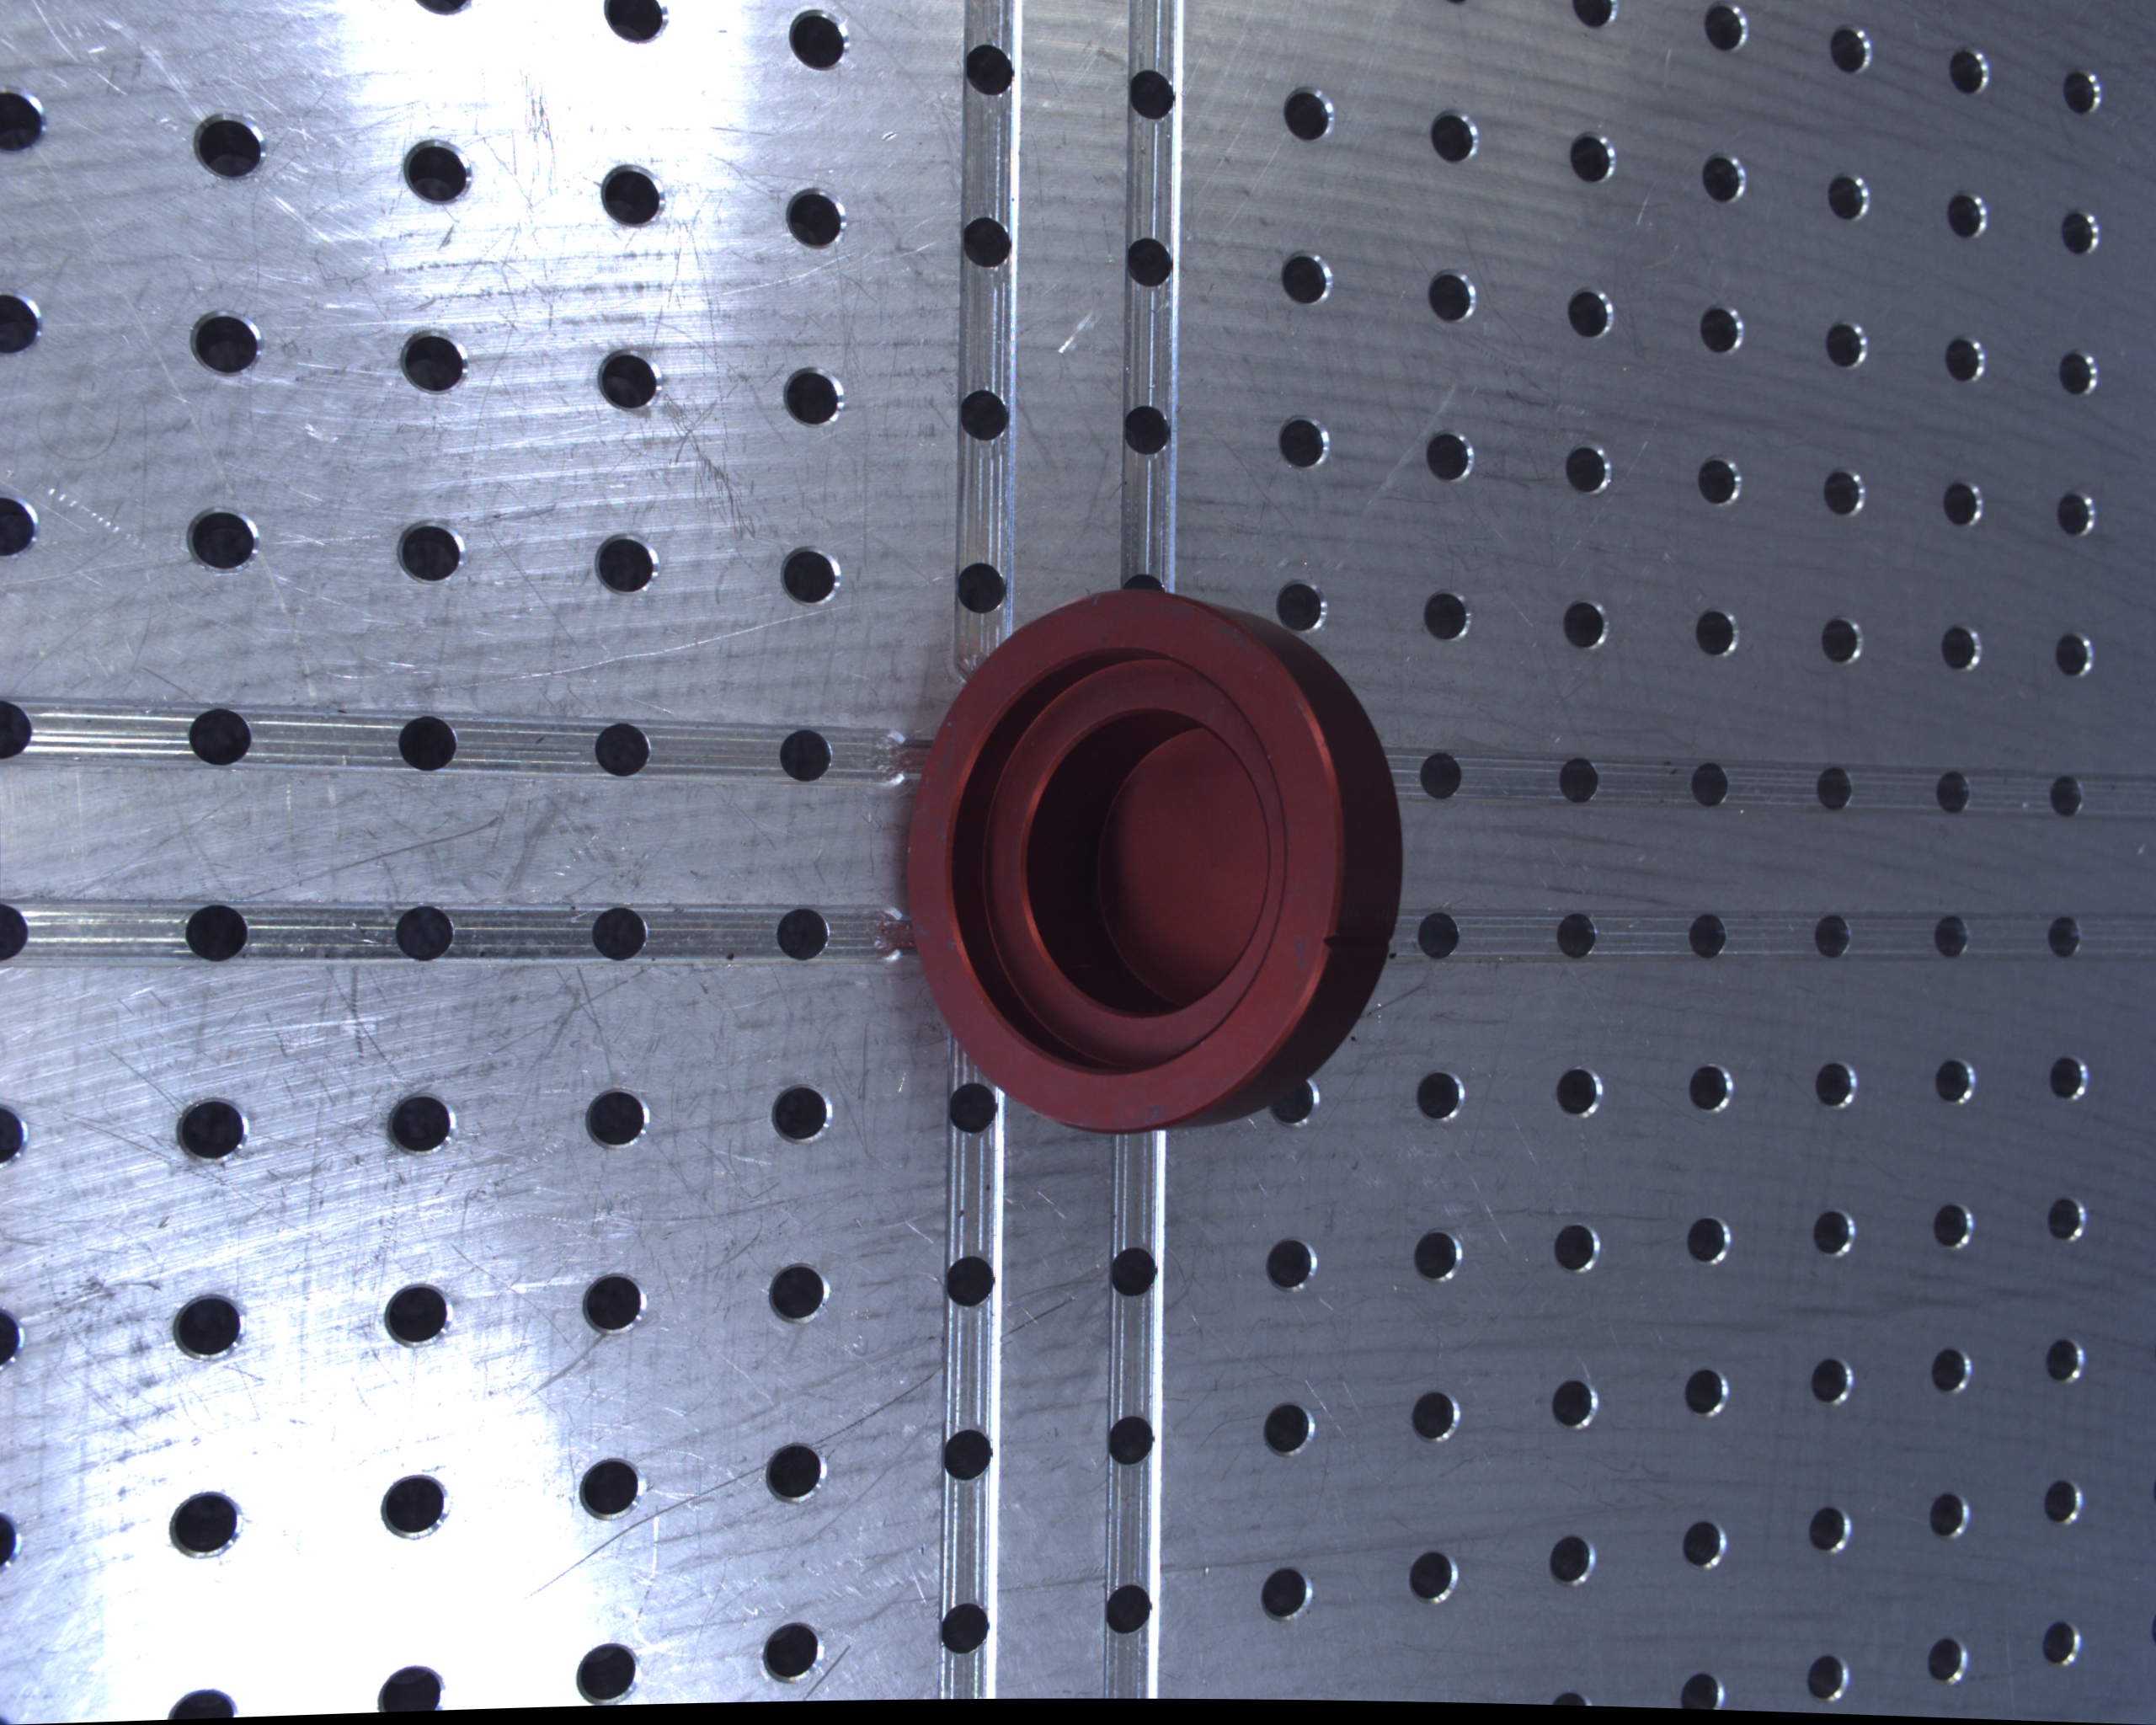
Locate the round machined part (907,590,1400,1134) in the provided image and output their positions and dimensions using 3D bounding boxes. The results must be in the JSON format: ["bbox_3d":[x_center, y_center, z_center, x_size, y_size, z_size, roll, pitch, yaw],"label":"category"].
[{"bbox_3d":[0.018,0.001,0.390,0.042,0.098,0.097,4,88,-51],"label":"round machined part"}]
